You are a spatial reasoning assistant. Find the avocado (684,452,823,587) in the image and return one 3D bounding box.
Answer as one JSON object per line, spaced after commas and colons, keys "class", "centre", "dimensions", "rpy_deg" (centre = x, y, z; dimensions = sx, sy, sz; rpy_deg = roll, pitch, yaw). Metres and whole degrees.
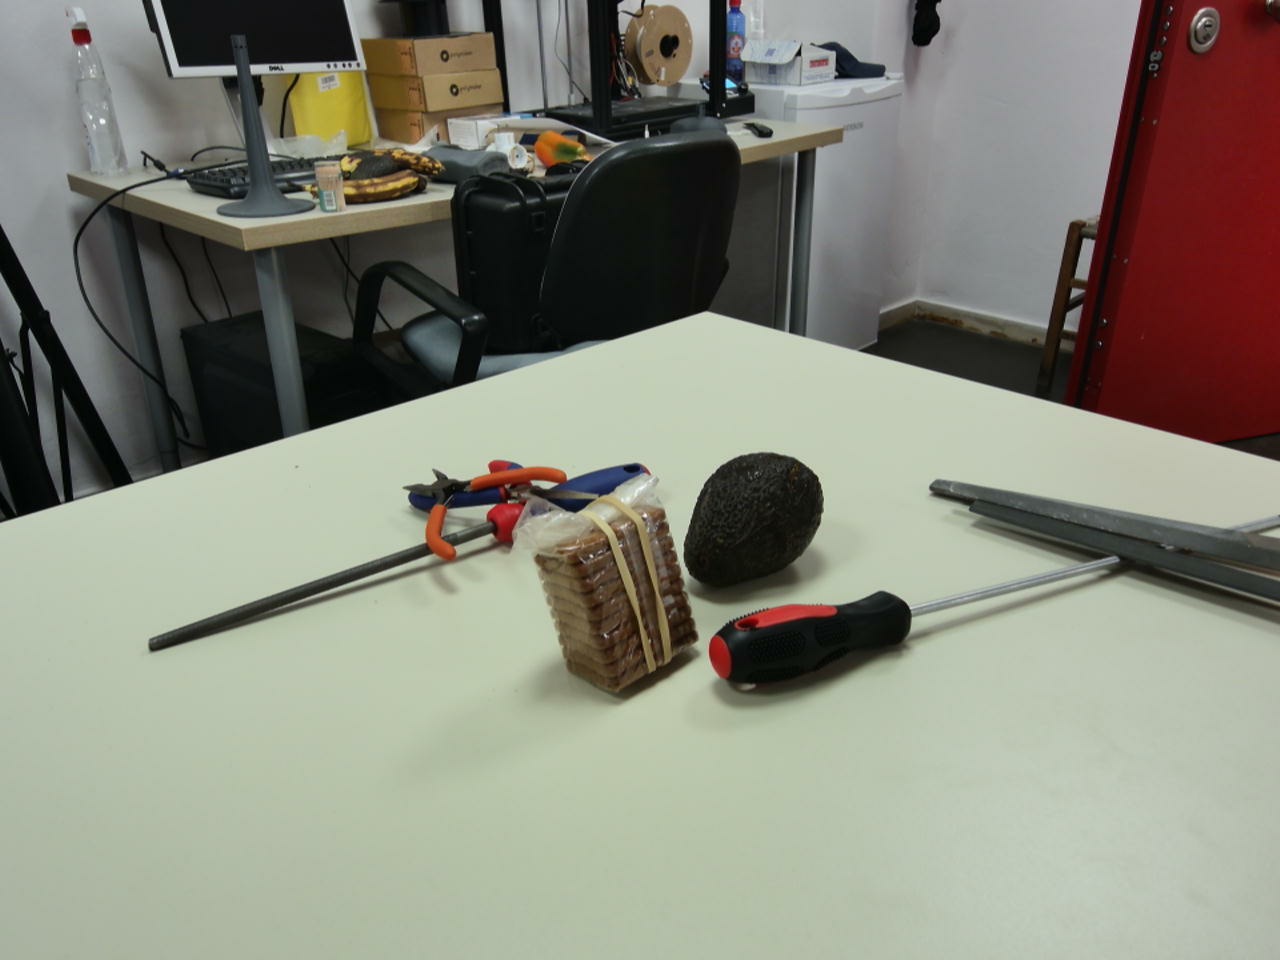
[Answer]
{"class": "avocado", "centre": [0.065, 0.019, 0.587], "dimensions": [0.090, 0.069, 0.070], "rpy_deg": [-7, 25, -16]}
